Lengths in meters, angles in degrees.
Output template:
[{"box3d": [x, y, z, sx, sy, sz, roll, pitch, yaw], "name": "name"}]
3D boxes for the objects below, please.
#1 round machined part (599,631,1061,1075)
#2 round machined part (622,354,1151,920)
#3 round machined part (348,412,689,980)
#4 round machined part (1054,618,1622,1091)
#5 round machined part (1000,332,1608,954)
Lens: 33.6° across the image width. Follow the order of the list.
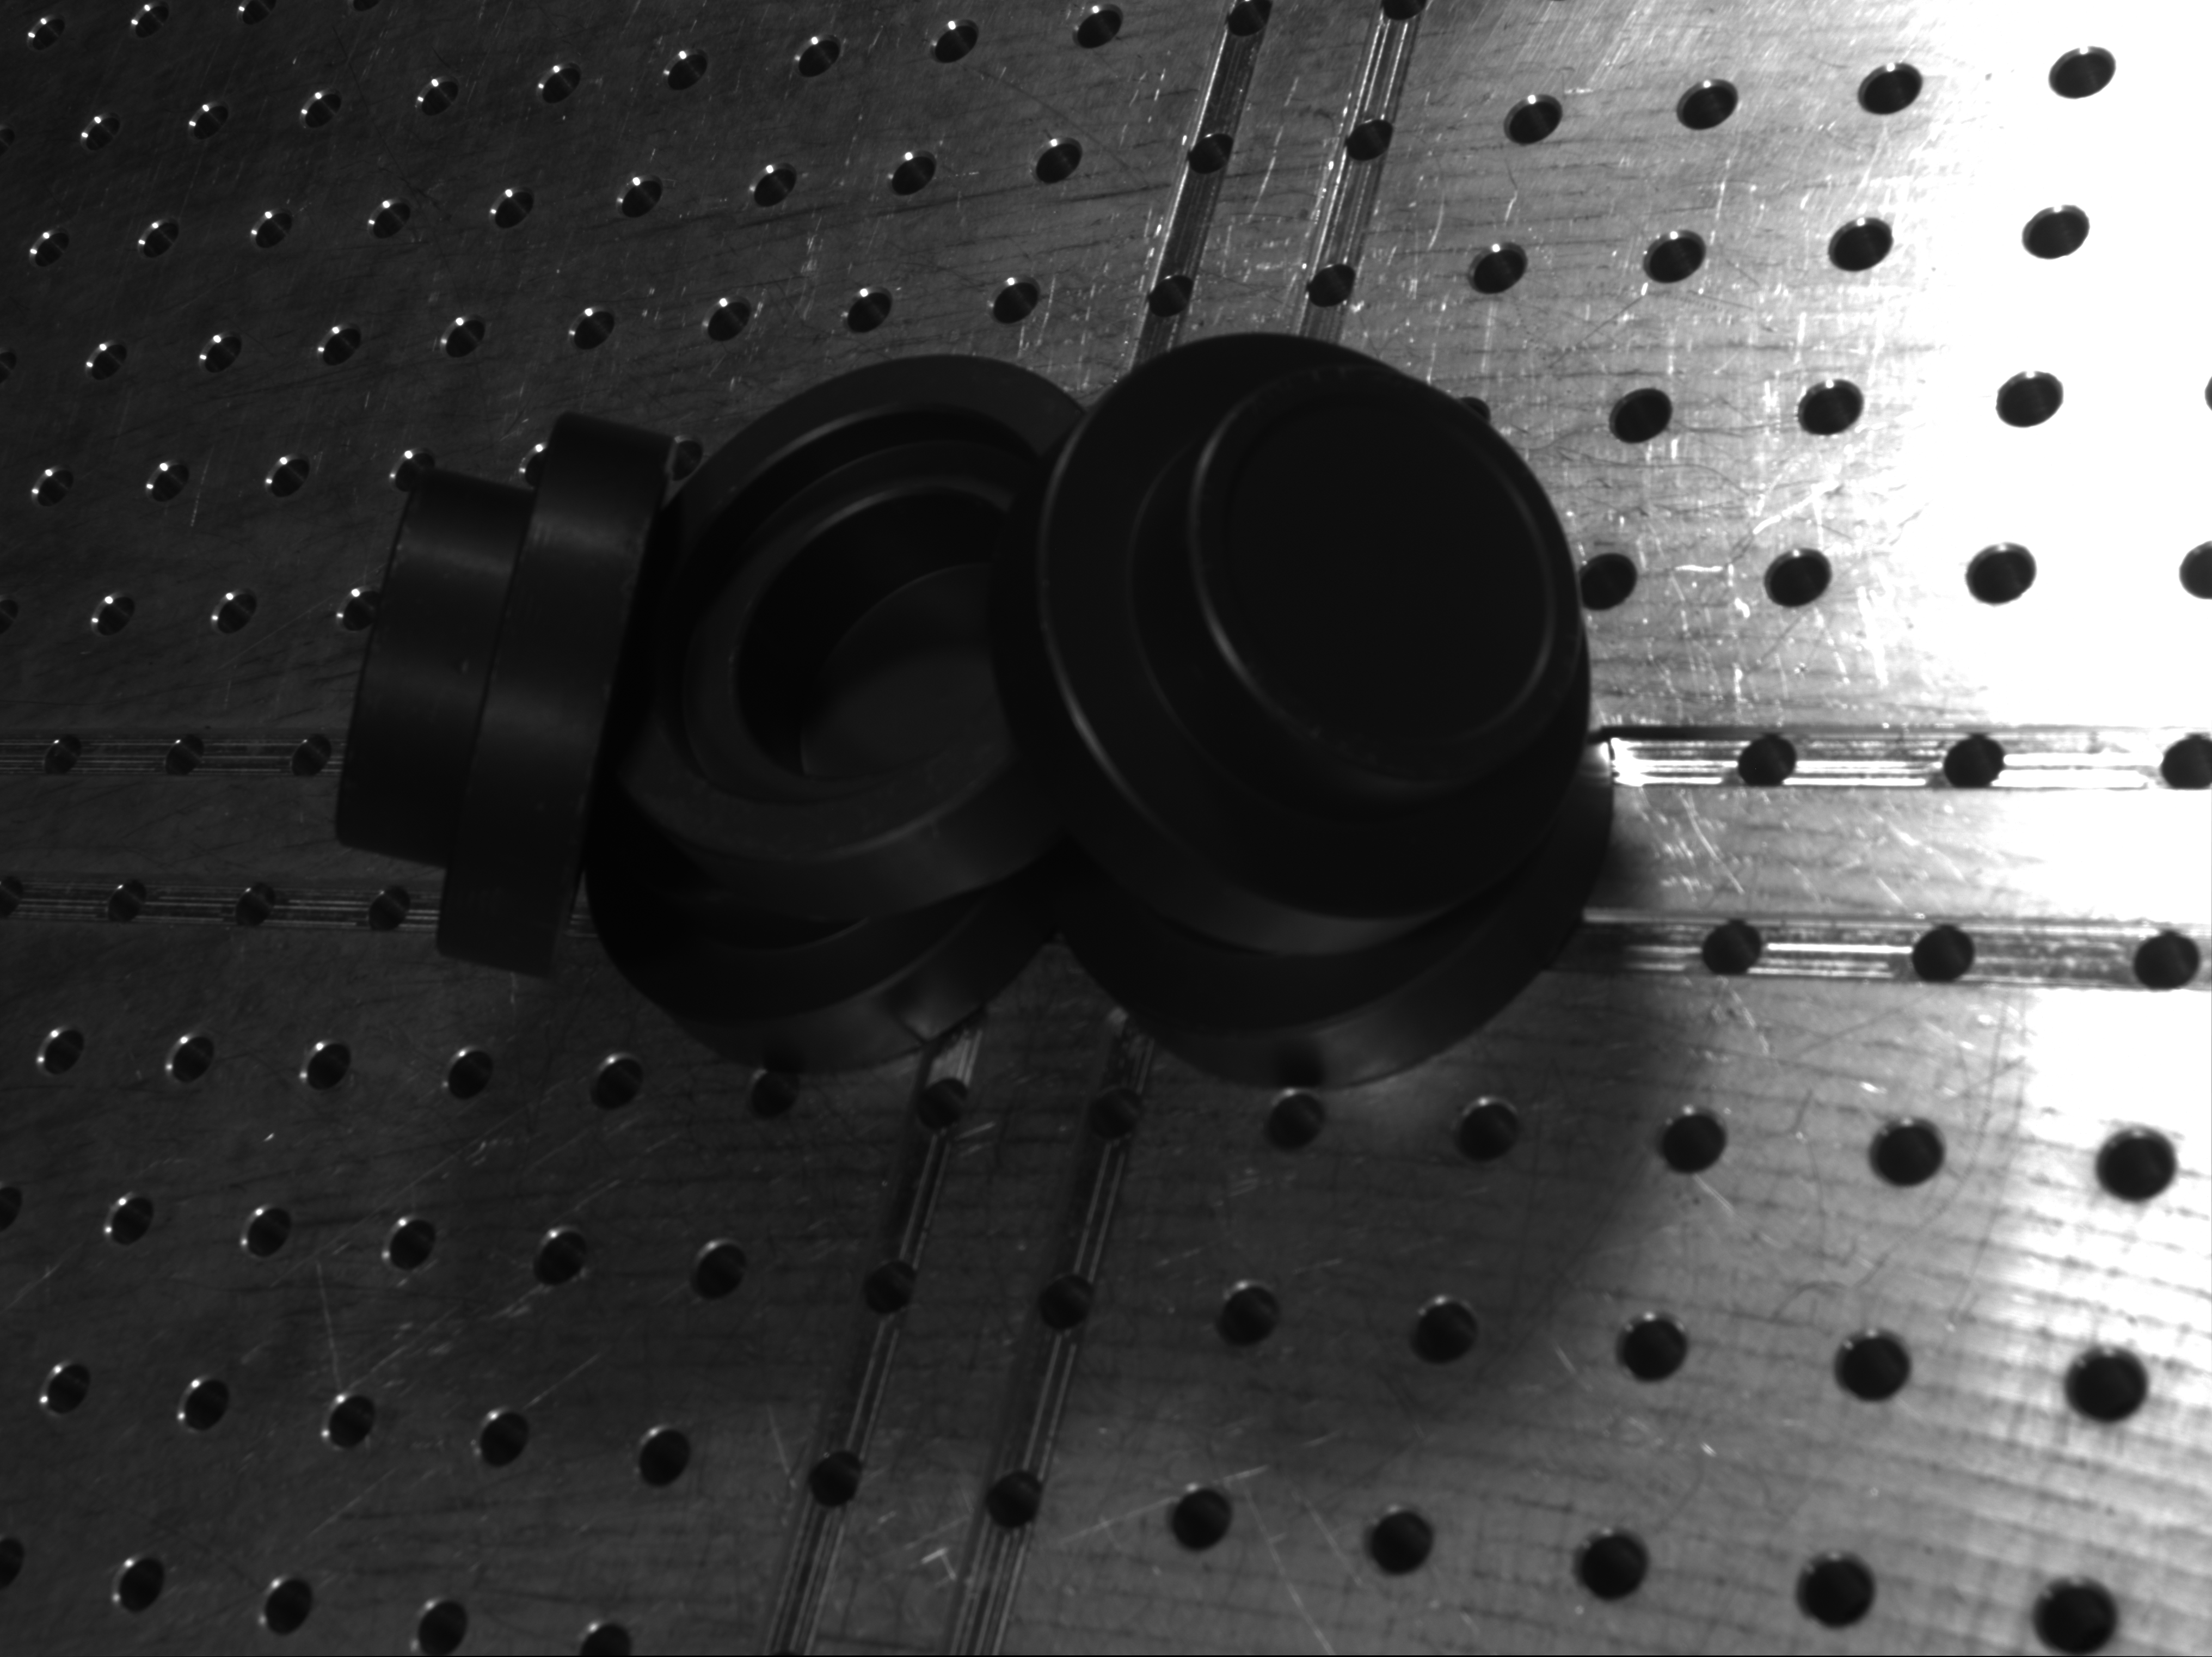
[{"box3d": [-0.051, -0.008, 0.669, 0.098, 0.042, 0.098, -13, 56, 21], "name": "round machined part"}, {"box3d": [-0.031, -0.028, 0.614, 0.098, 0.042, 0.098, -13, 56, 21], "name": "round machined part"}, {"box3d": [-0.104, -0.025, 0.642, 0.042, 0.098, 0.098, 13, 62, -7], "name": "round machined part"}, {"box3d": [0.035, -0.008, 0.622, 0.098, 0.042, 0.098, -13, 56, 21], "name": "round machined part"}, {"box3d": [0.036, -0.033, 0.571, 0.042, 0.098, 0.098, -38, 34, 60], "name": "round machined part"}]
